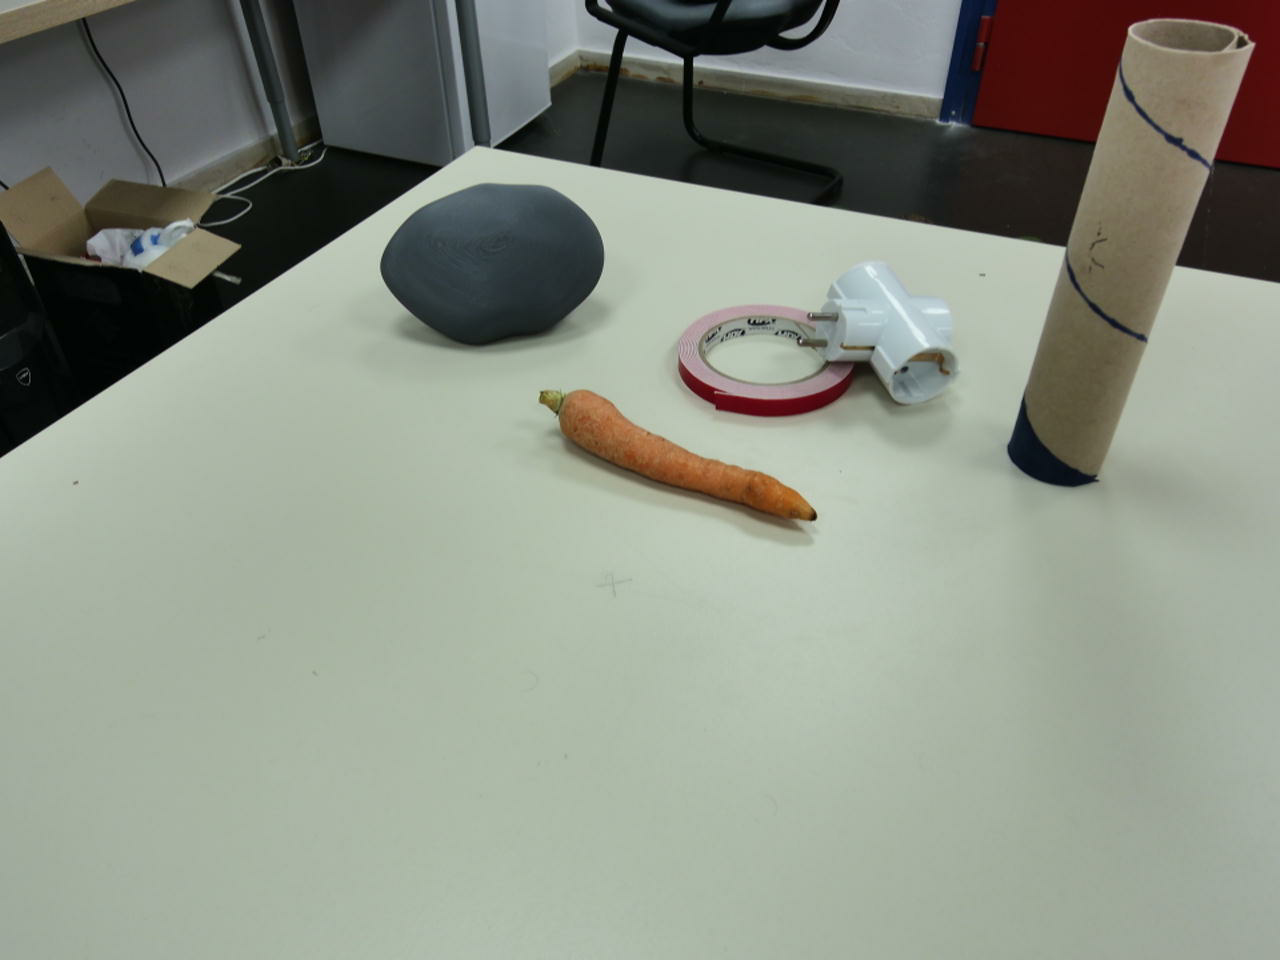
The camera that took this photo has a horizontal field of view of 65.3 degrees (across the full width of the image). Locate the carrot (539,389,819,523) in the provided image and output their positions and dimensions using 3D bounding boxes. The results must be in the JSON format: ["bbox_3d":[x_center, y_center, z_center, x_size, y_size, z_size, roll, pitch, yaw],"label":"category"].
[{"bbox_3d":[0.017,-0.014,0.536,0.173,0.032,0.030,23,44,27],"label":"carrot"}]
